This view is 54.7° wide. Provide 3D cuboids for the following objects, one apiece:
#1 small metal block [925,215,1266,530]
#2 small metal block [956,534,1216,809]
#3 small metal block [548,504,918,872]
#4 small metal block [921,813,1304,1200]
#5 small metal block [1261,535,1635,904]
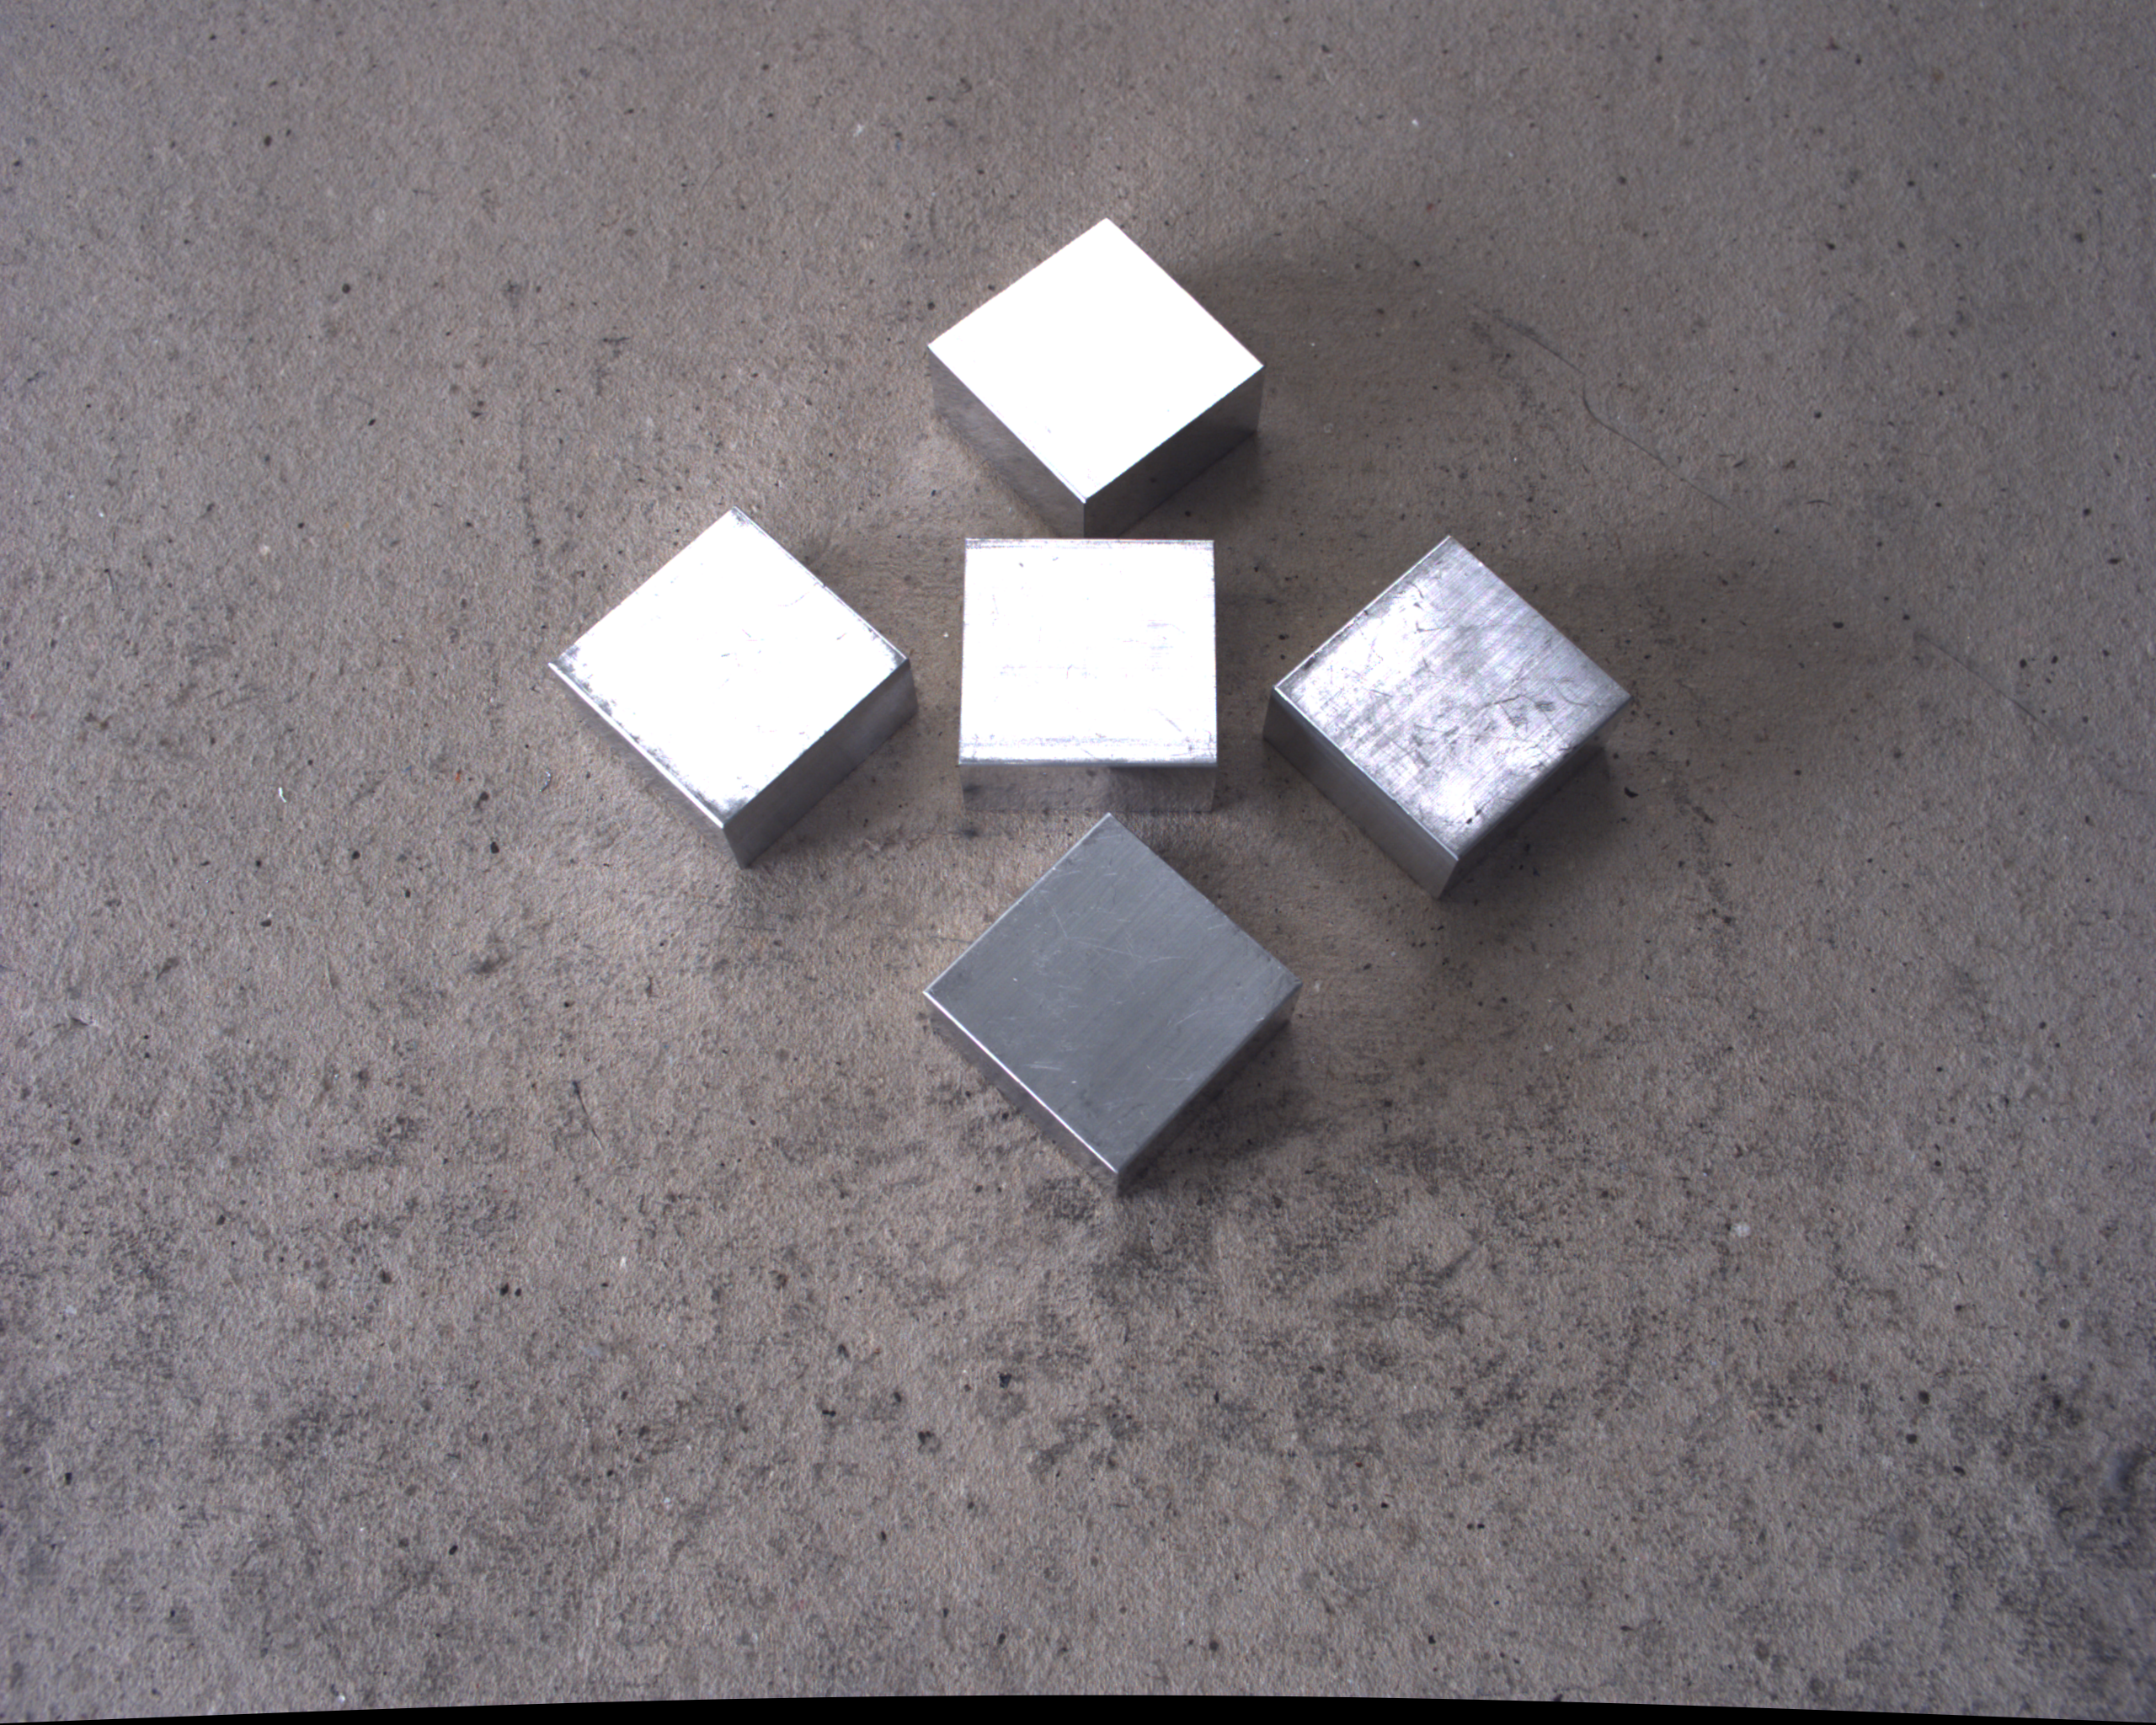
[{"bbox_3d":[0.004,-0.101,0.446,0.050,0.025,0.050,-39,74,-14],"label":"small metal block"},{"bbox_3d":[0.002,-0.038,0.423,0.050,0.025,0.050,0,70,0],"label":"small metal block"},{"bbox_3d":[-0.069,-0.035,0.422,0.050,0.025,0.050,42,74,13],"label":"small metal block"},{"bbox_3d":[0.006,0.028,0.399,0.050,0.025,0.050,42,74,13],"label":"small metal block"},{"bbox_3d":[0.074,-0.029,0.421,0.050,0.025,0.050,-41,76,-14],"label":"small metal block"}]
